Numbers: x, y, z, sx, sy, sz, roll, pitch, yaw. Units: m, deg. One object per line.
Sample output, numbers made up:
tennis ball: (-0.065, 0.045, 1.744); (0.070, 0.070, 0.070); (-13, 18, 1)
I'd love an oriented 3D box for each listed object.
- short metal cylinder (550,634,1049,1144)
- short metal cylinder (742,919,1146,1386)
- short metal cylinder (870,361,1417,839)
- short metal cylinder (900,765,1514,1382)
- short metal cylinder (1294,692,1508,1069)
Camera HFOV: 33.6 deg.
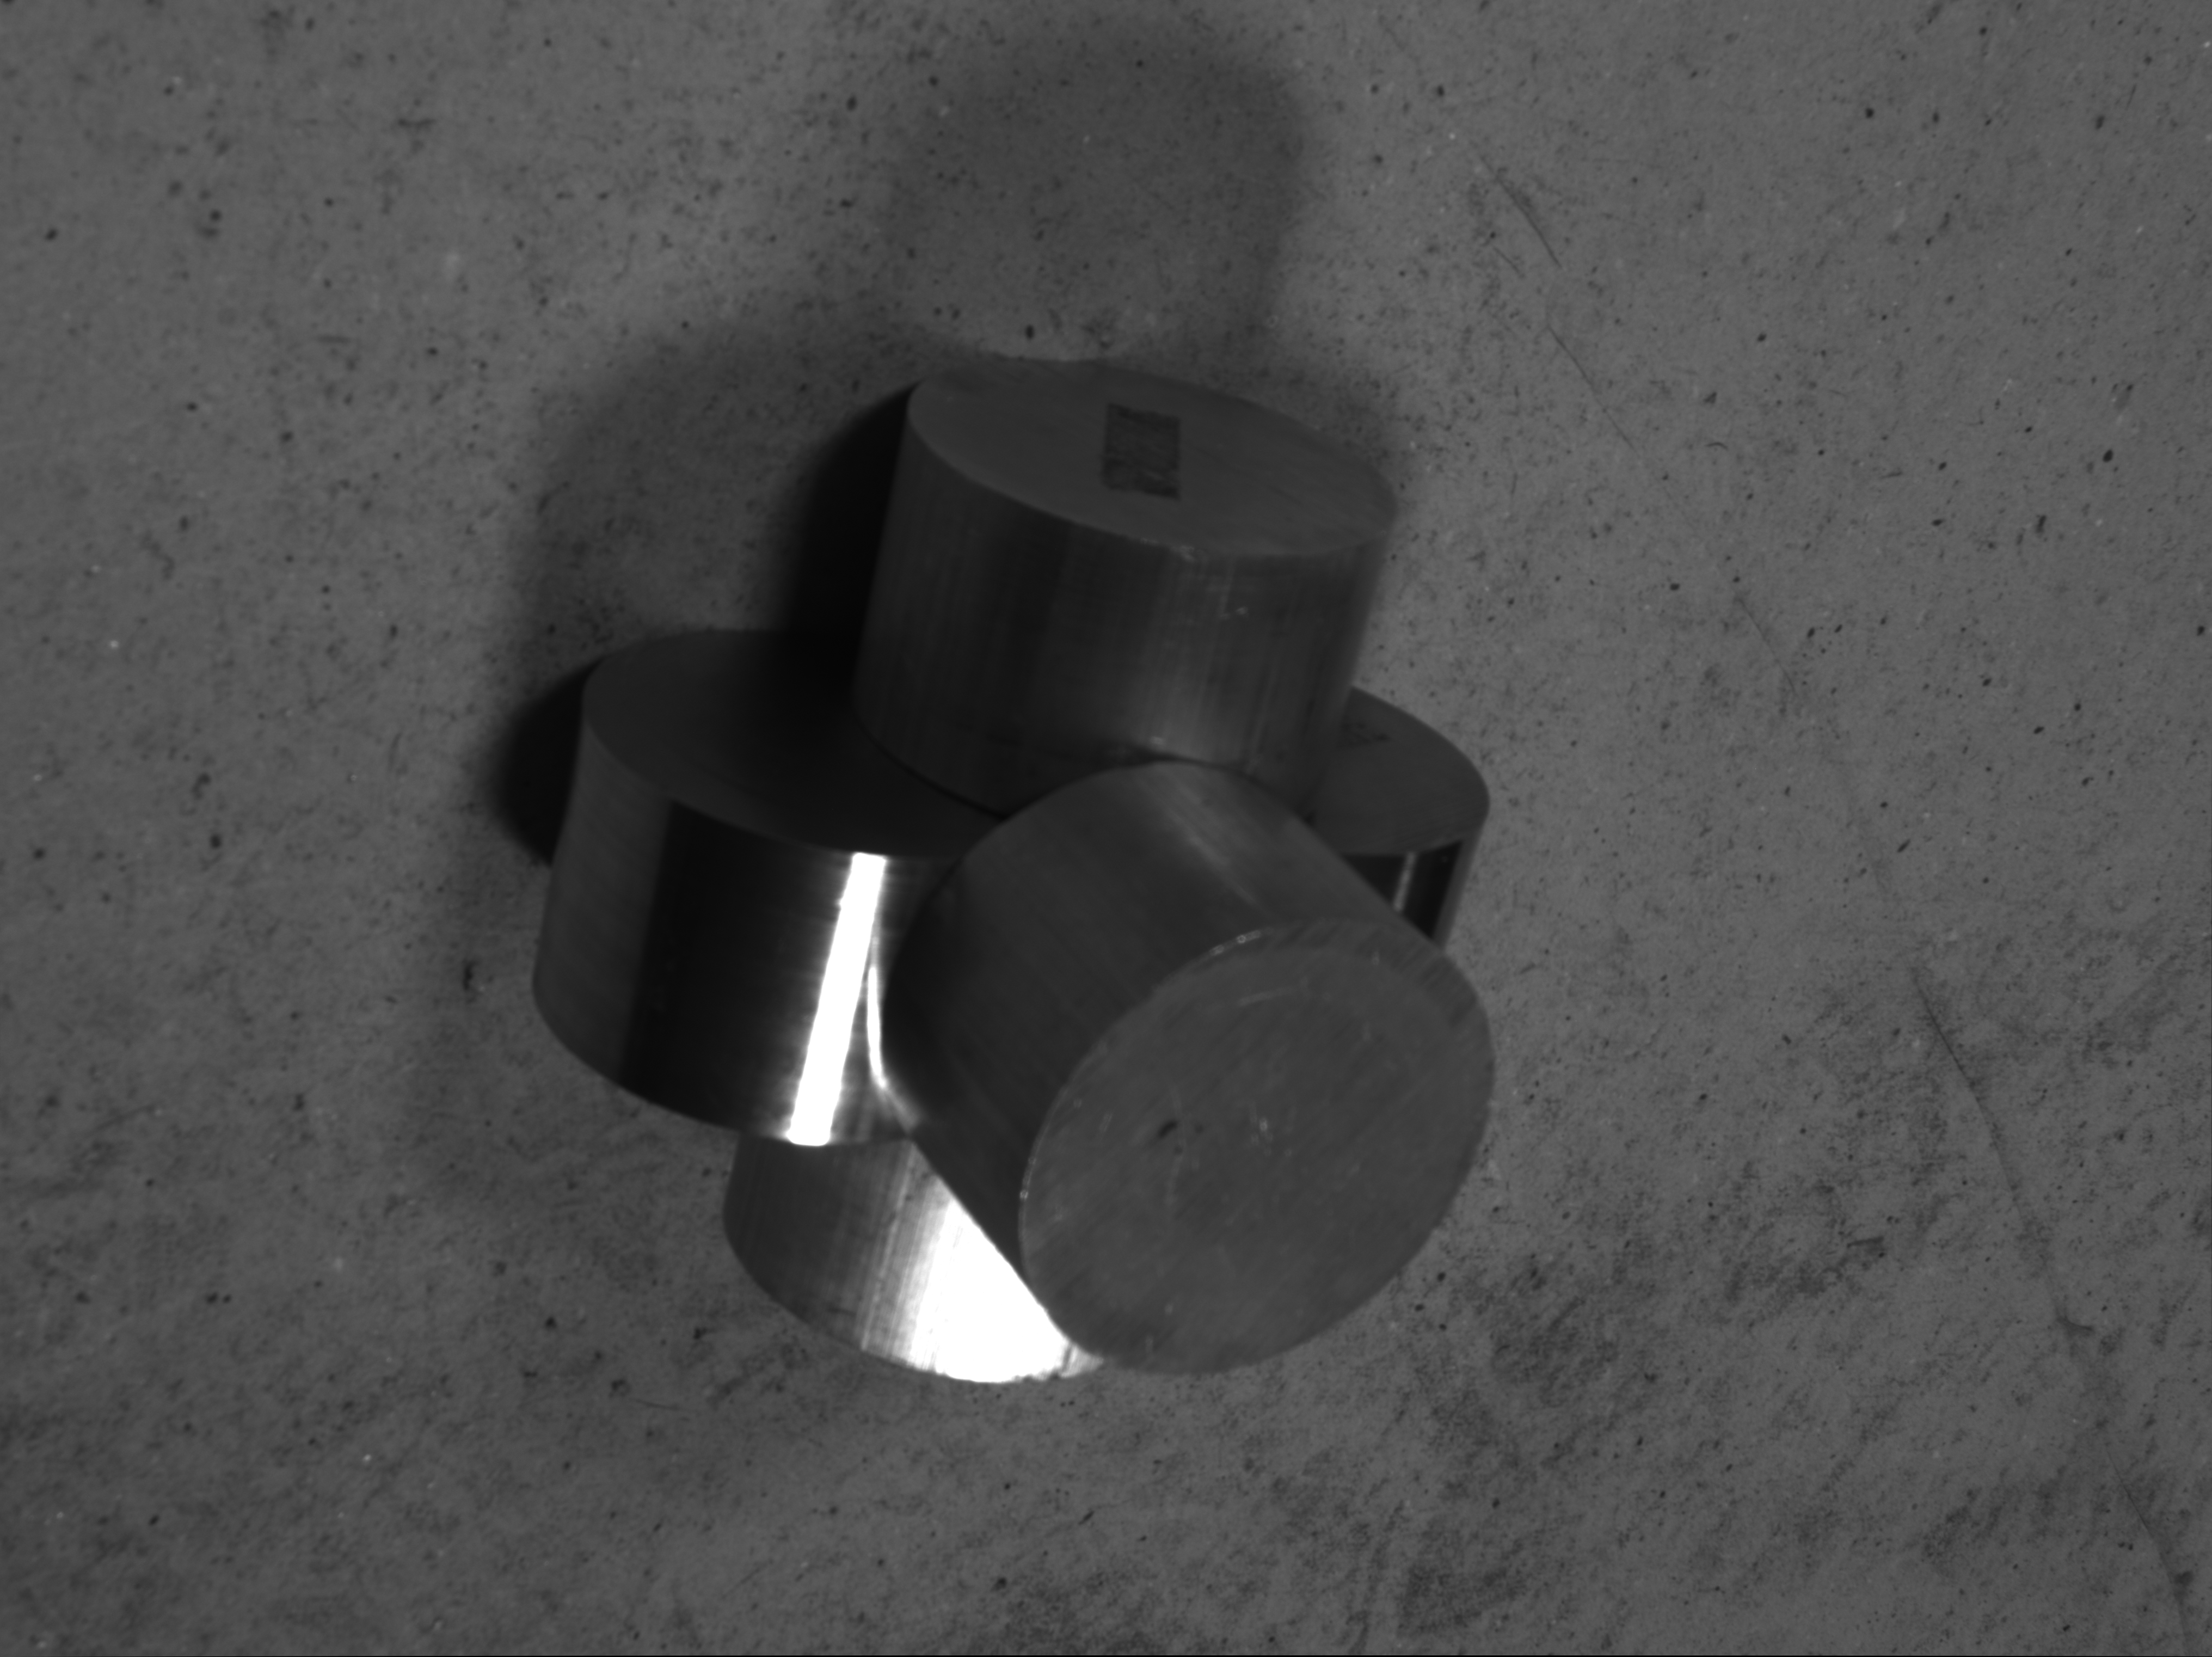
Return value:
short metal cylinder: (-0.046, 0.008, 0.593); (0.080, 0.080, 0.050); (-1, 119, -30)
short metal cylinder: (-0.019, 0.053, 0.636); (0.080, 0.080, 0.050); (0, 118, -30)
short metal cylinder: (0.005, -0.037, 0.595); (0.080, 0.080, 0.050); (-2, 119, -29)
short metal cylinder: (0.015, 0.037, 0.561); (0.080, 0.050, 0.080); (-15, 125, -22)
short metal cylinder: (0.024, 0.008, 0.634); (0.080, 0.080, 0.050); (0, 118, -30)
